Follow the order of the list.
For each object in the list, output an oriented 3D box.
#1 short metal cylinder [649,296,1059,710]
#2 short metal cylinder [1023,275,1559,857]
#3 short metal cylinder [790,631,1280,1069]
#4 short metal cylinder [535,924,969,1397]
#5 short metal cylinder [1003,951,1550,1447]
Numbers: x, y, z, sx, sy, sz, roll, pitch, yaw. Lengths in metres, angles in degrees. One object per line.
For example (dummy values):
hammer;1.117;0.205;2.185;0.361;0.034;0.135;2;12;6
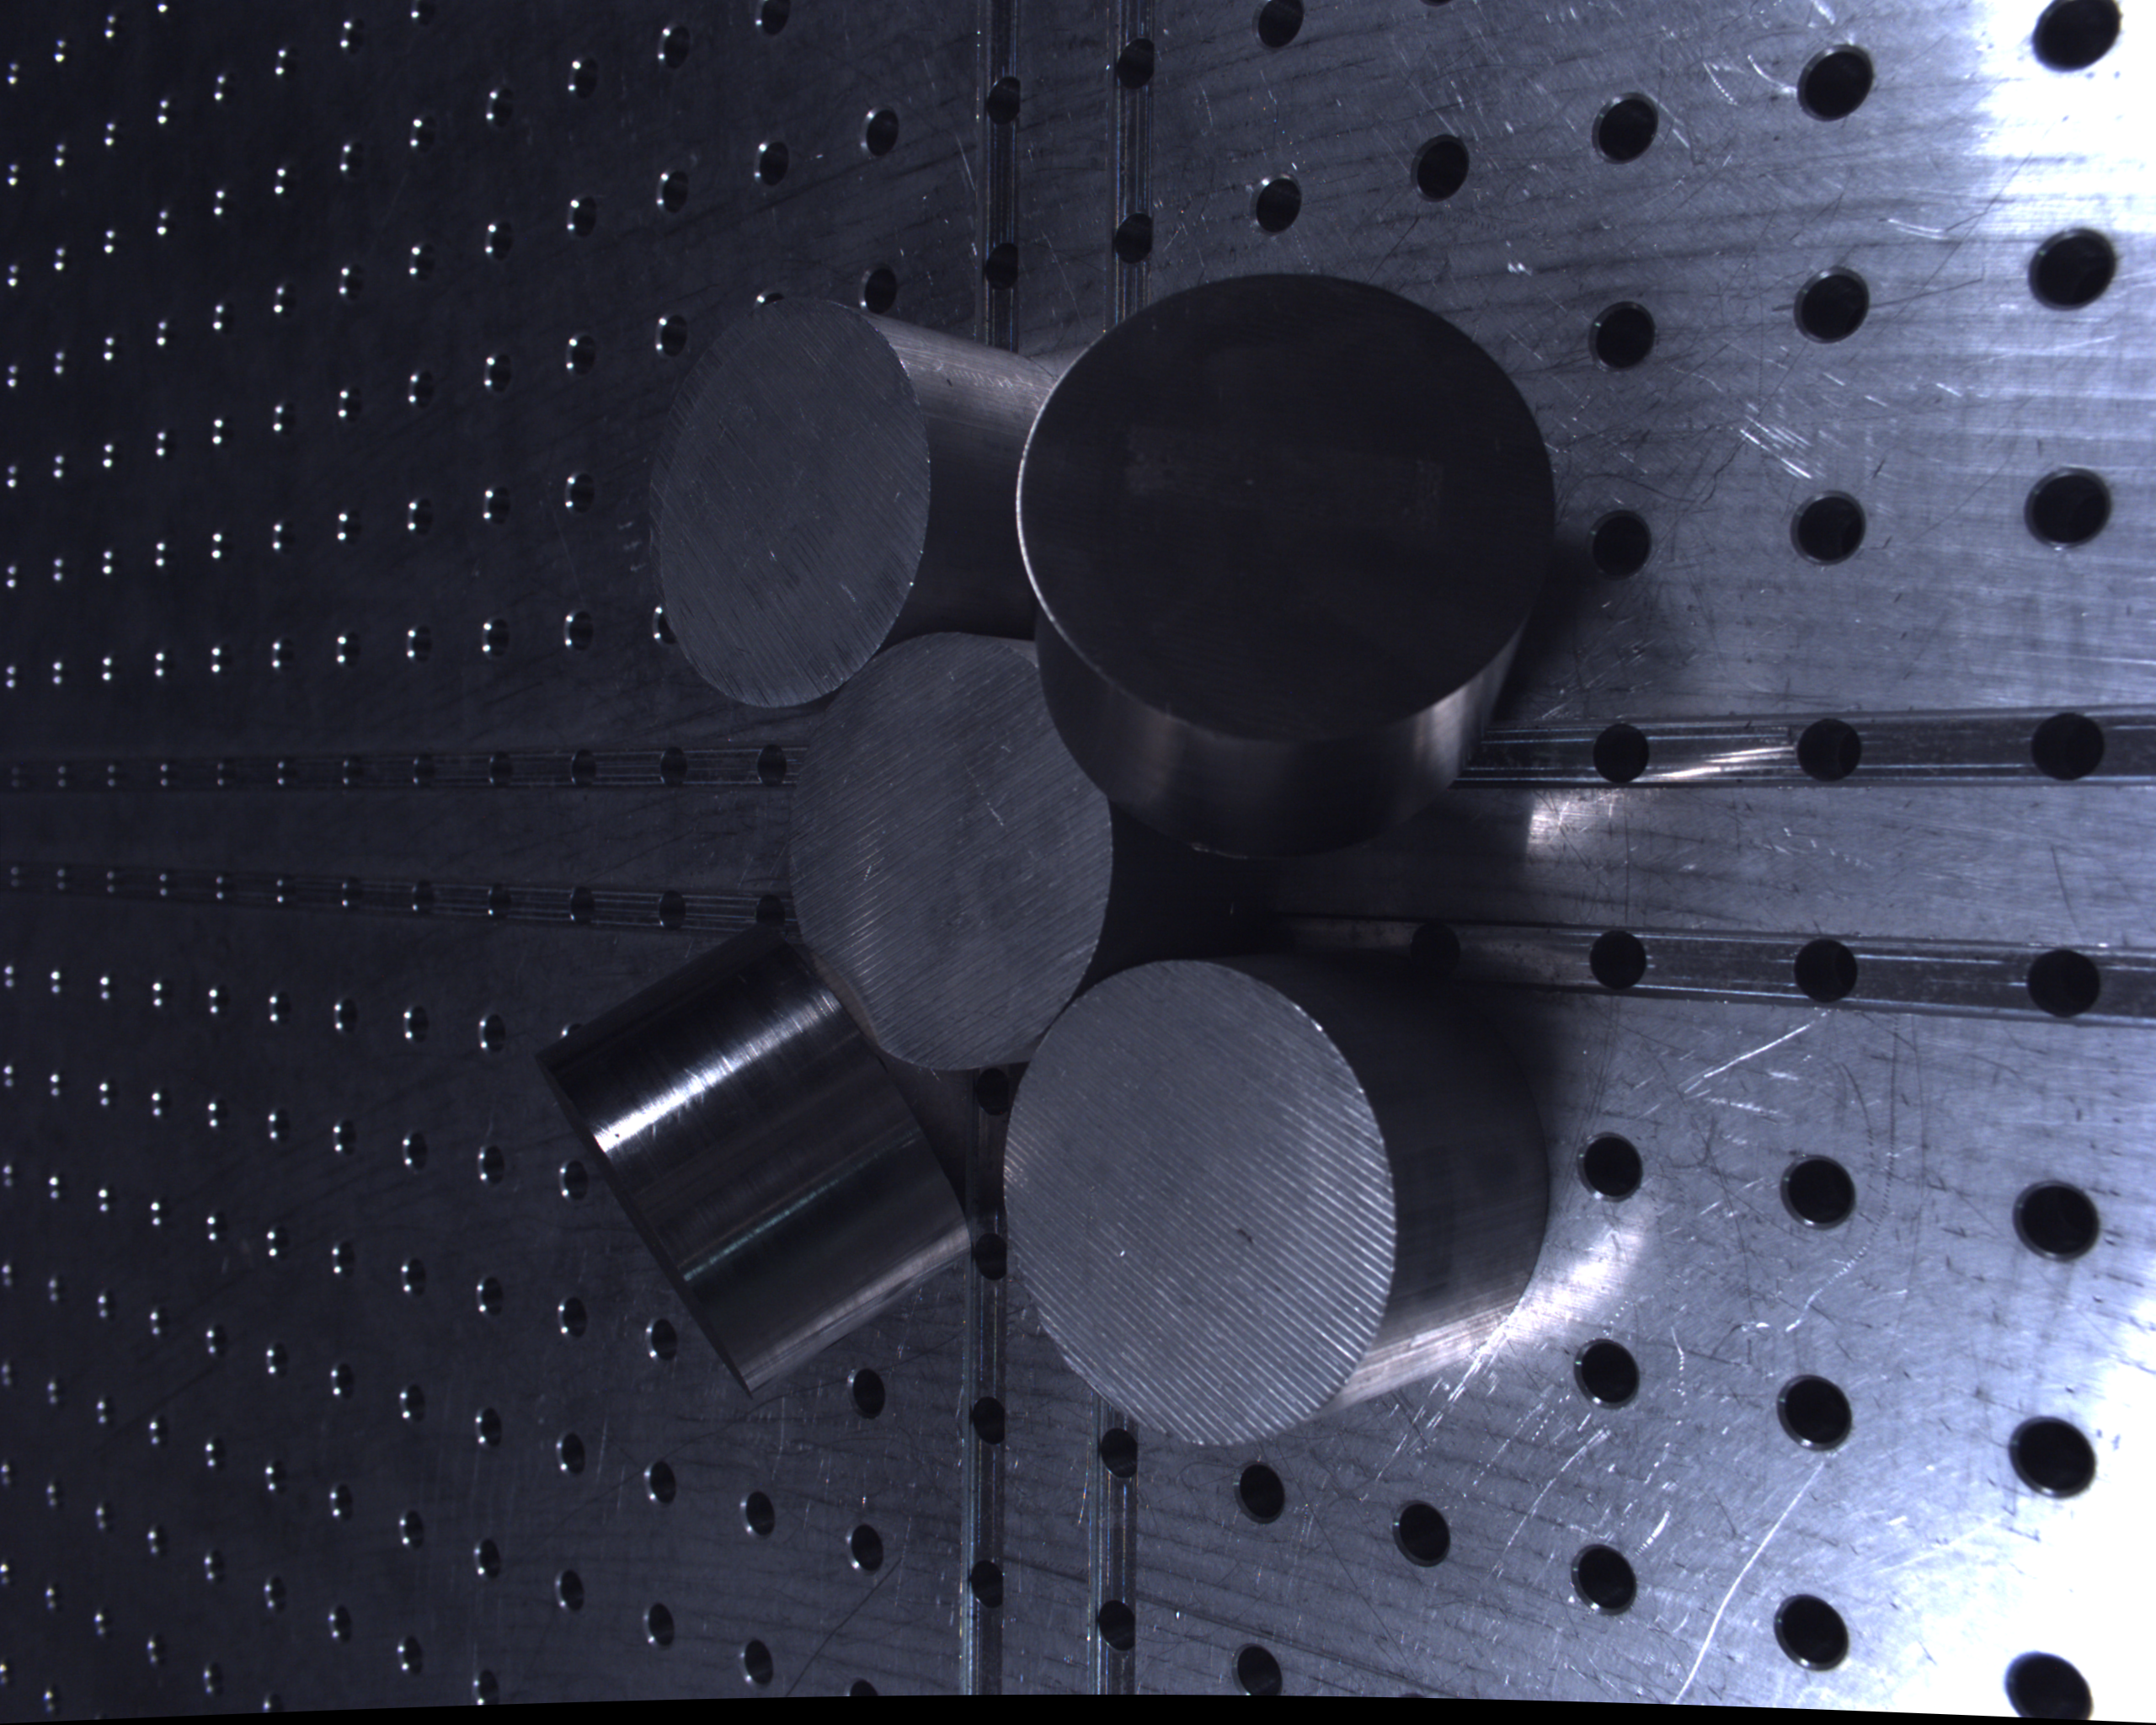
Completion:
short metal cylinder;-0.042;-0.070;0.425;0.080;0.050;0.079;0;90;39
short metal cylinder;0.033;-0.047;0.338;0.080;0.050;0.080;-1;70;2
short metal cylinder;-0.009;-0.002;0.398;0.080;0.050;0.079;0;90;39
short metal cylinder;-0.066;0.059;0.418;0.080;0.050;0.080;50;161;25
short metal cylinder;0.034;0.056;0.363;0.080;0.050;0.079;0;90;39
